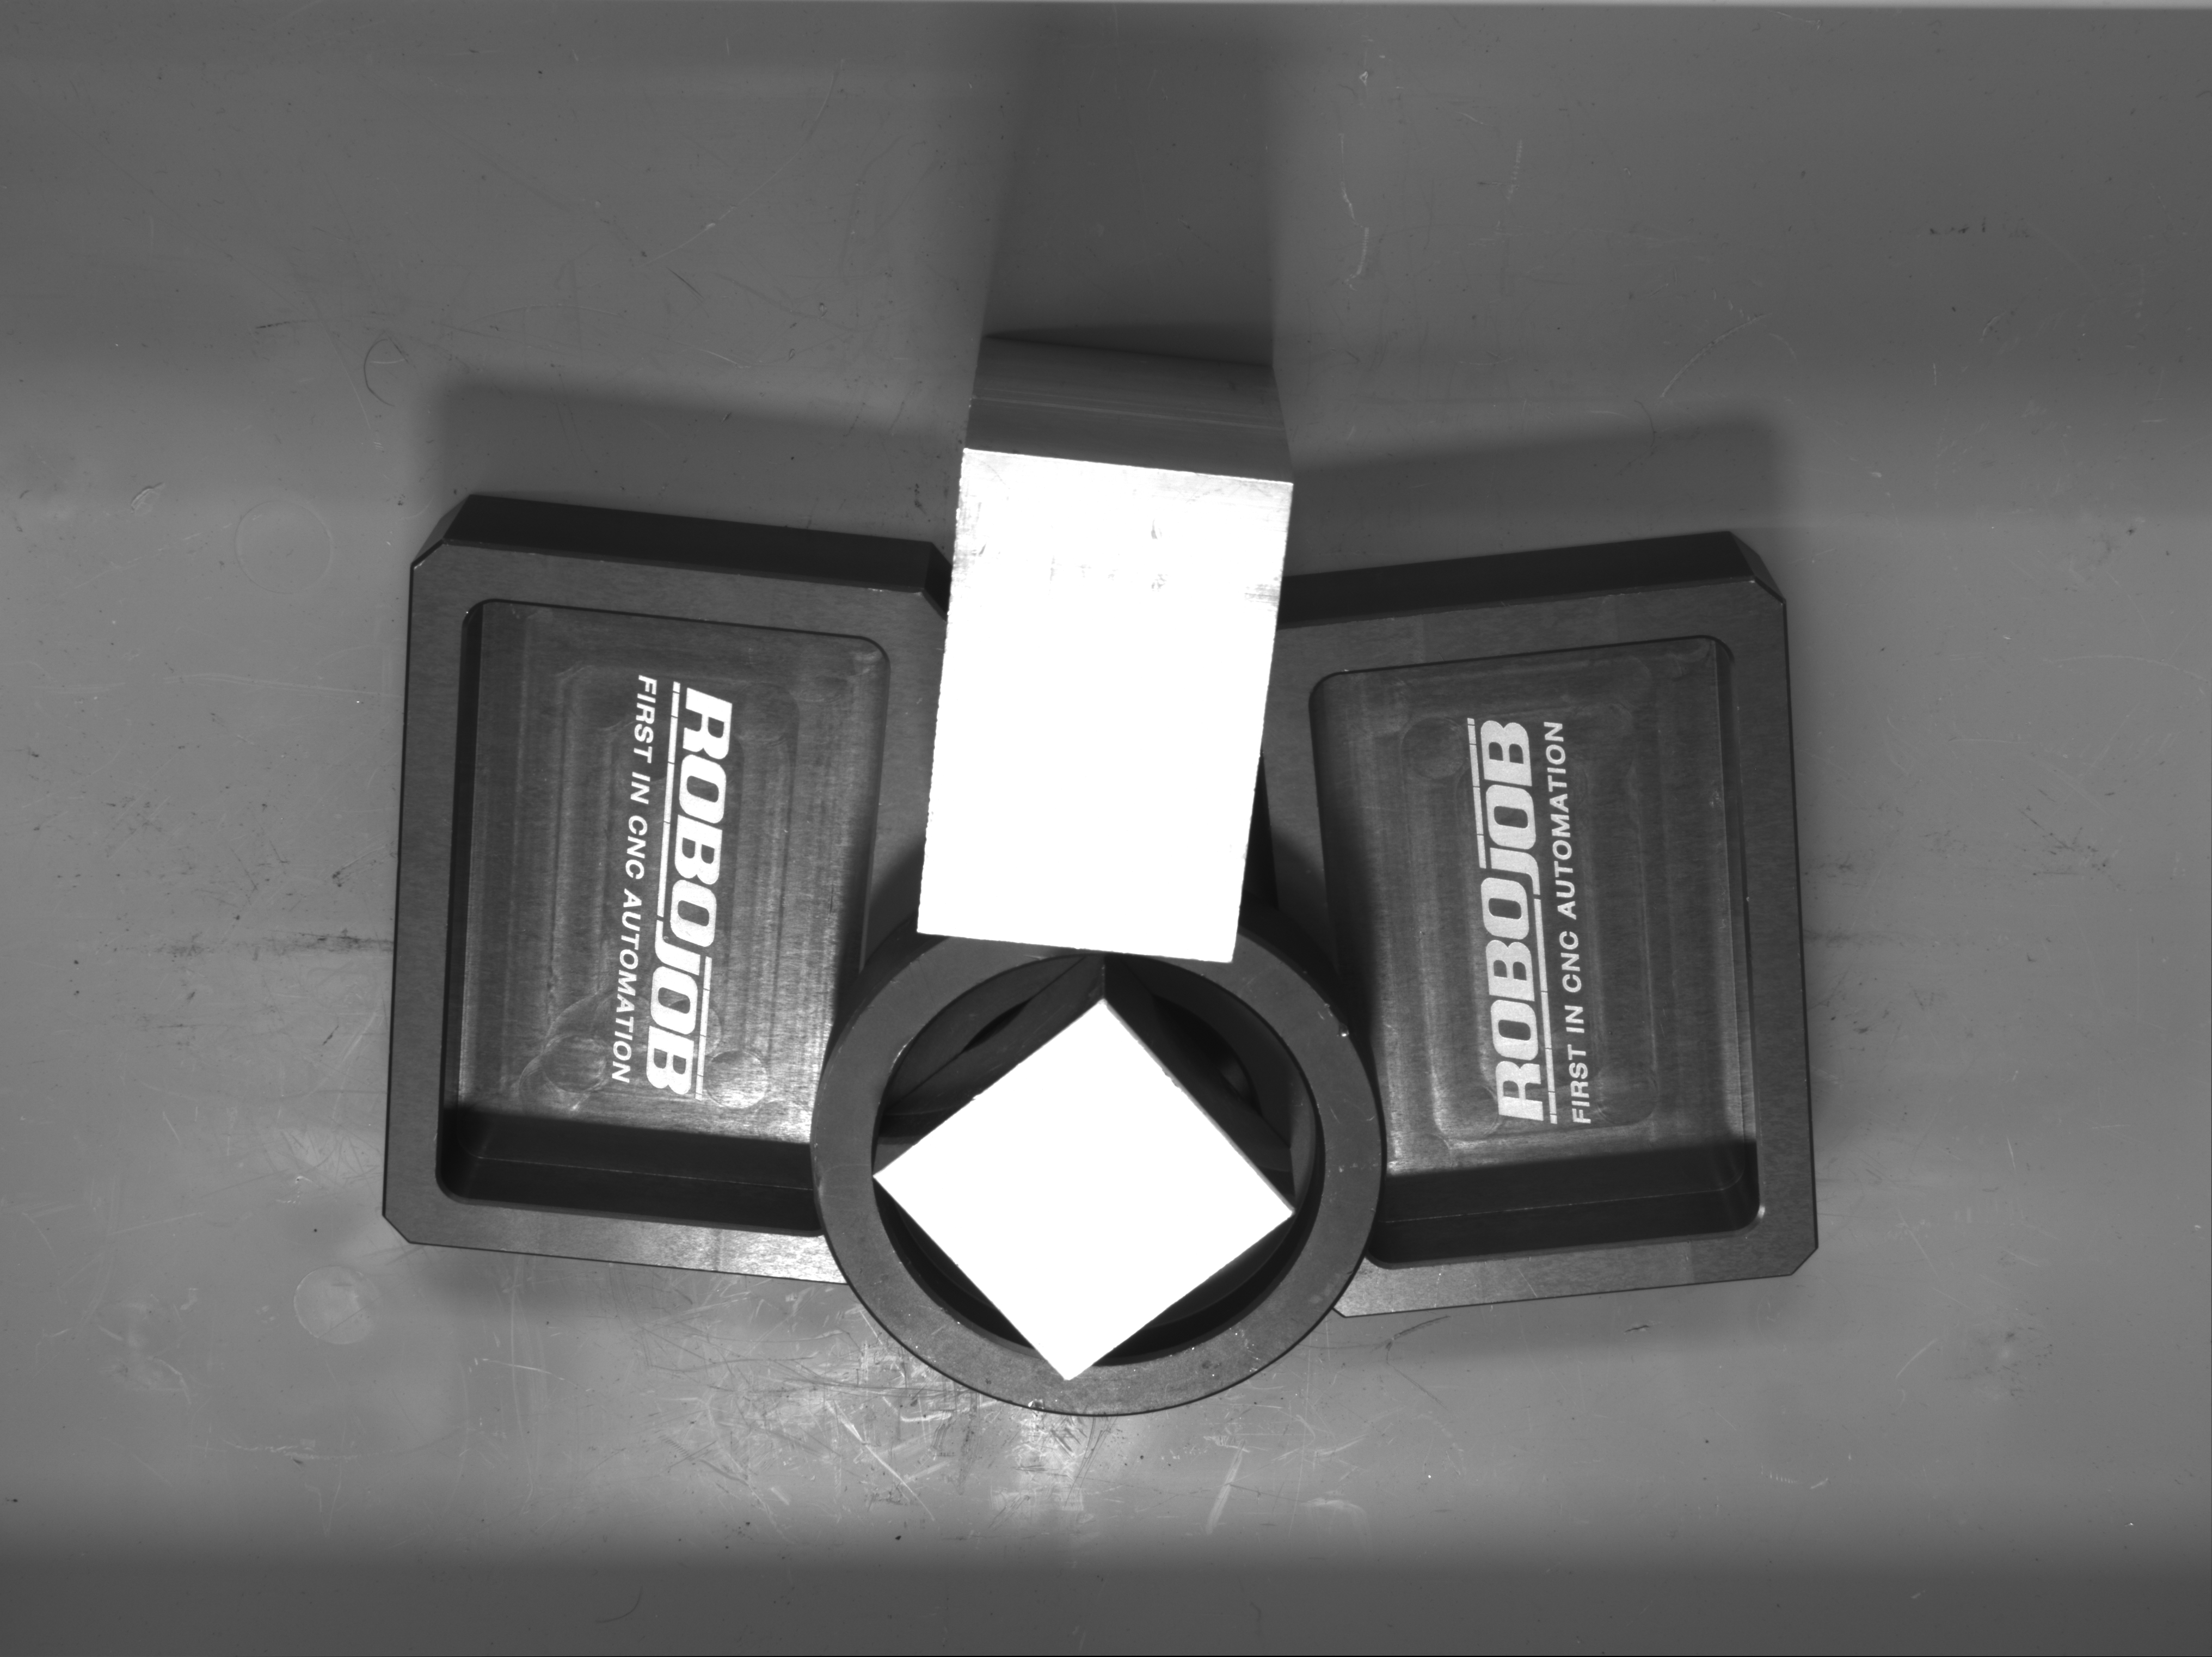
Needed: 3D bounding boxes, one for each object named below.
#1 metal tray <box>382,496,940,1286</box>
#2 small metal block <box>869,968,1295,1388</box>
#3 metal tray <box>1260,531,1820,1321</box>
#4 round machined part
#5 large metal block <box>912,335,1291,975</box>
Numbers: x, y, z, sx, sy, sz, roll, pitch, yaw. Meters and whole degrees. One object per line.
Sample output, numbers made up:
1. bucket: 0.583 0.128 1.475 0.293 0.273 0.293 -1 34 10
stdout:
1. metal tray: -0.077 0.012 0.644 0.090 0.030 0.130 6 110 -2
2. small metal block: -0.004 0.057 0.619 0.050 0.025 0.050 -38 106 13
3. metal tray: 0.075 0.018 0.646 0.090 0.030 0.130 -6 110 2
4. round machined part: -0.001 0.050 0.642 0.098 0.042 0.098 0 110 0
5. large metal block: -0.001 -0.031 0.602 0.050 0.080 0.080 6 110 -2
